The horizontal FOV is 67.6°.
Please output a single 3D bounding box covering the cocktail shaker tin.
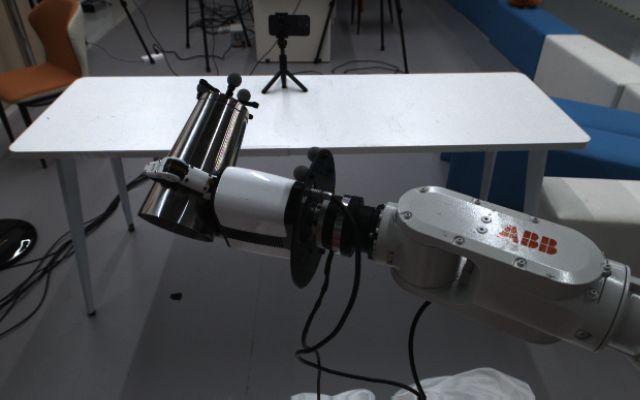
[{"bbox_3d":[-0.149,-0.043,0.595,0.093,0.093,0.170,14,72,16],"label":"cocktail shaker tin"}]
